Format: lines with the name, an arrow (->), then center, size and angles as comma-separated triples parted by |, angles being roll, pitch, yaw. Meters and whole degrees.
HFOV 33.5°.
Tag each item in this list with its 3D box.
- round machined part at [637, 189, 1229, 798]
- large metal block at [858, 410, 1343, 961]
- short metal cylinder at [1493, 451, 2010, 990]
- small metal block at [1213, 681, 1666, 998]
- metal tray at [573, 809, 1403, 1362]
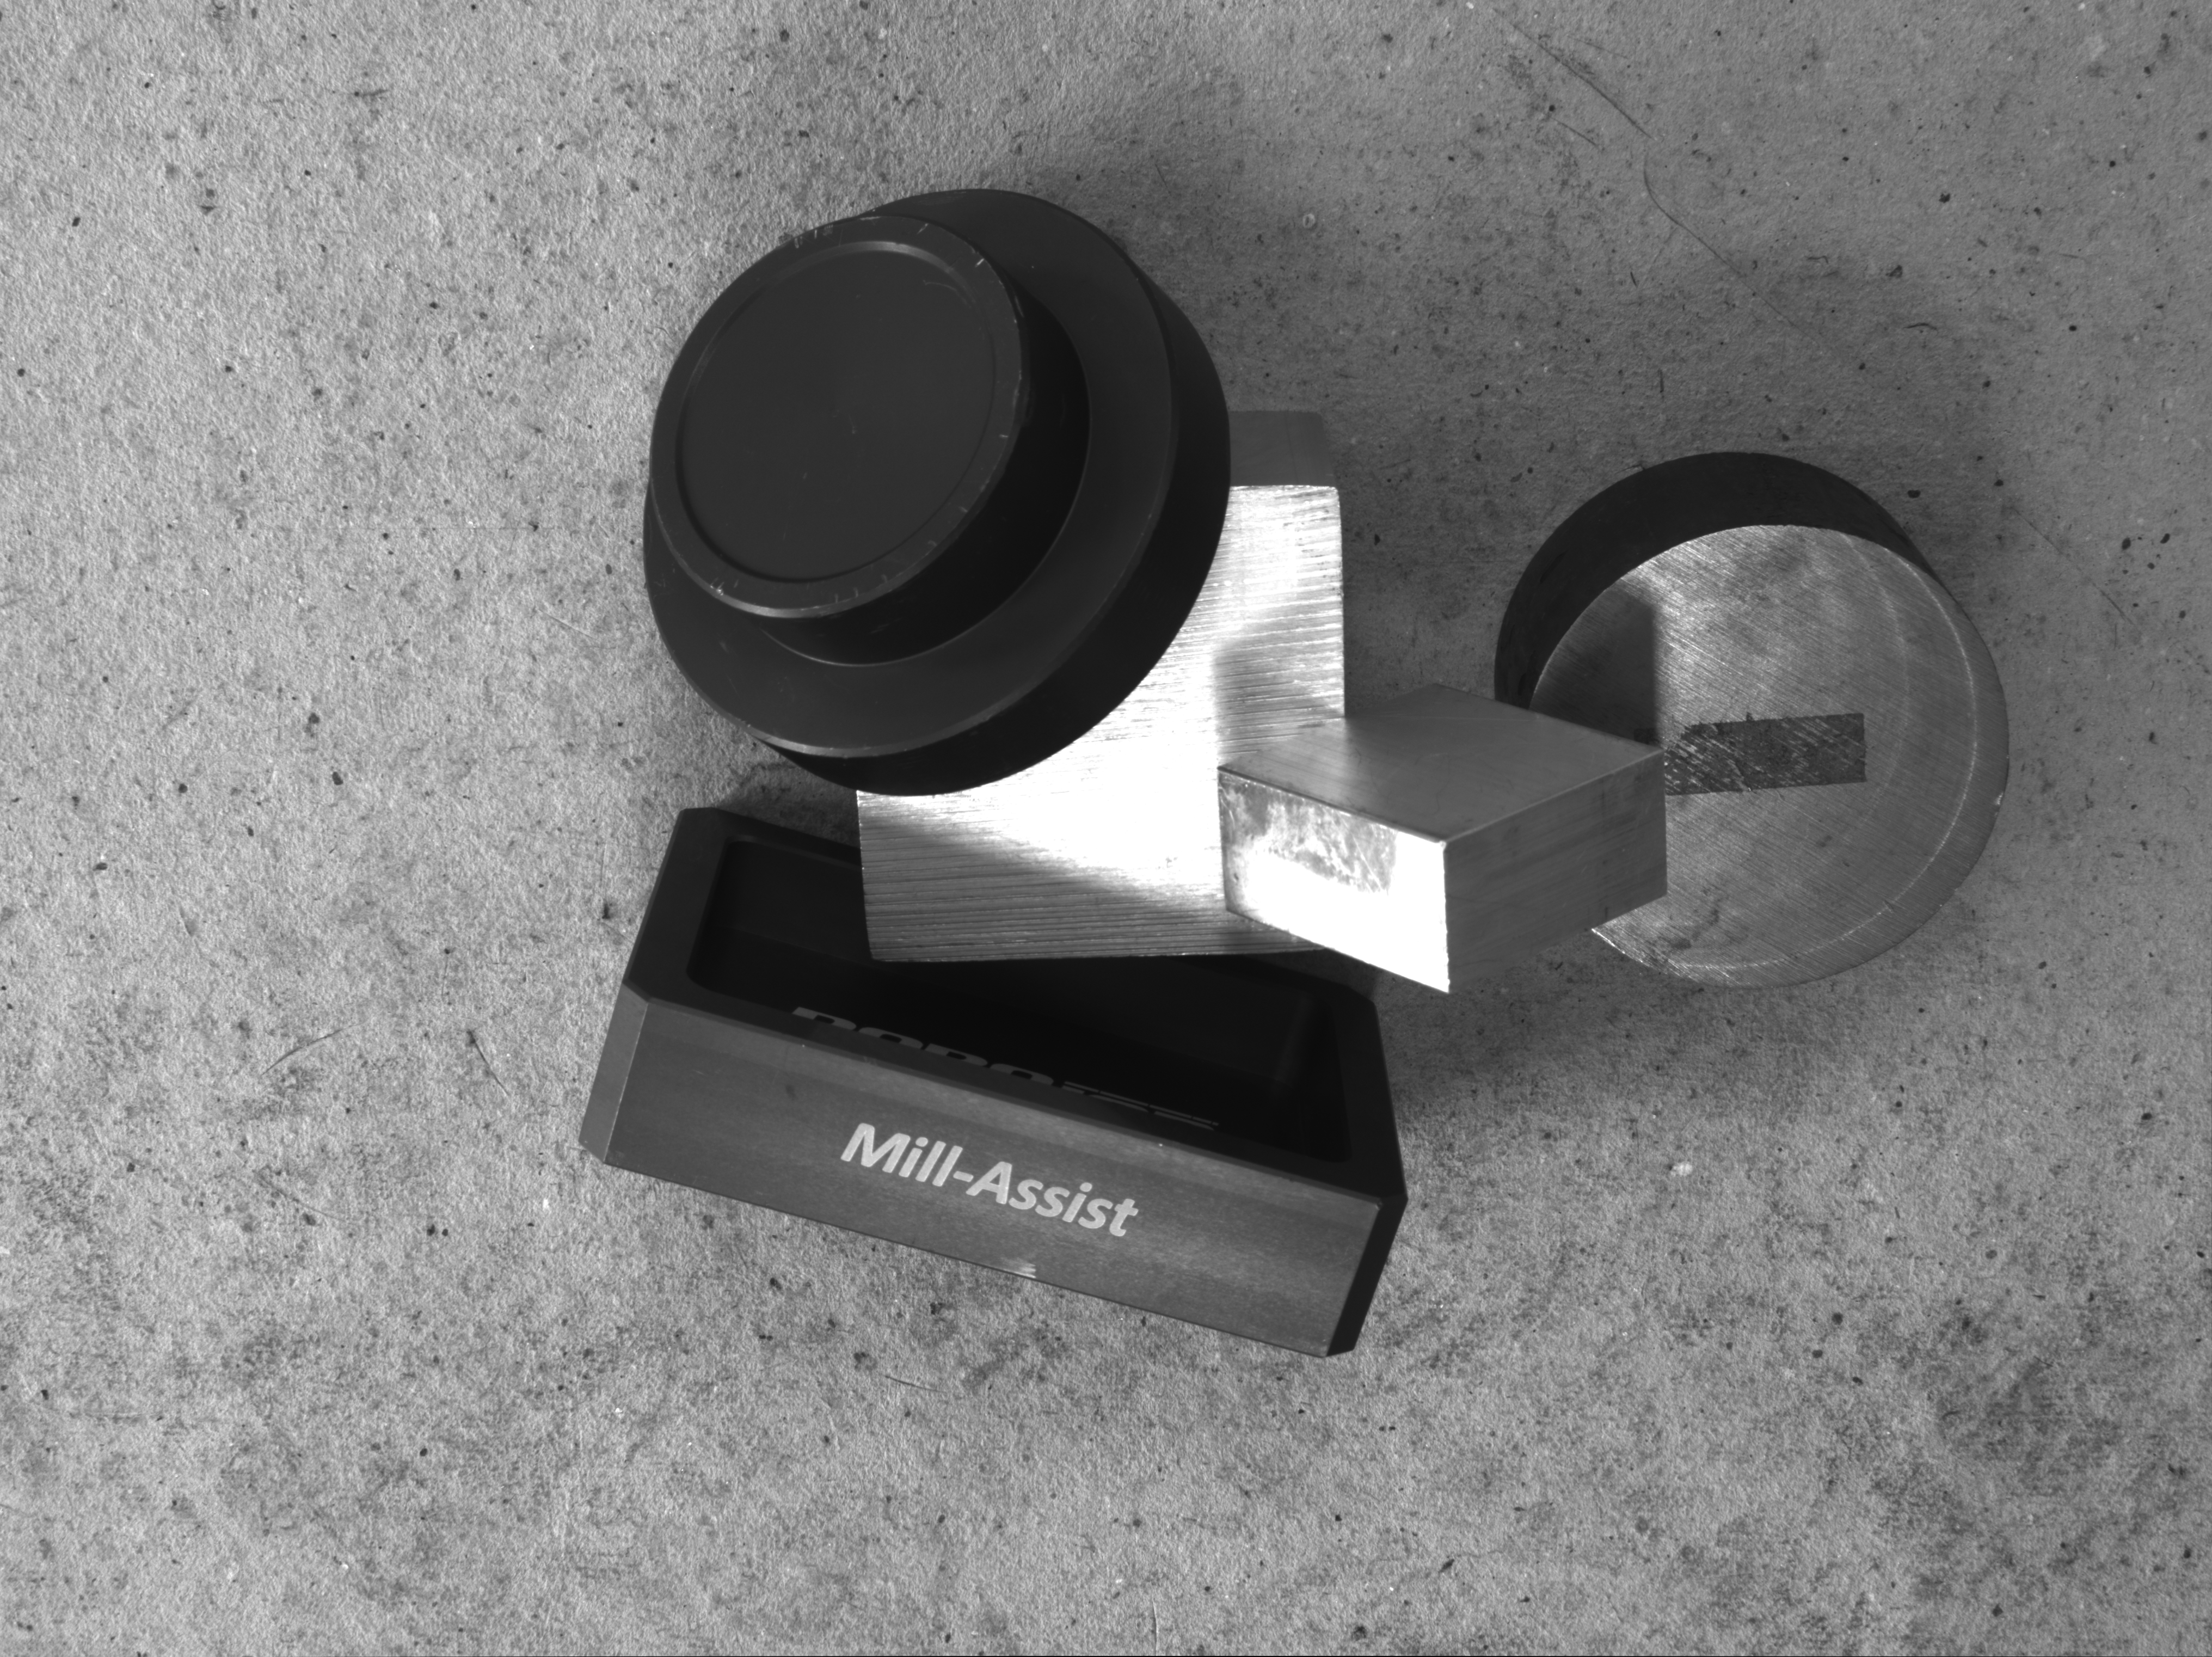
round machined part -> -0.033, -0.058, 0.584 | 0.098, 0.098, 0.042 | -35, 150, 12
large metal block -> -0.001, -0.025, 0.623 | 0.080, 0.050, 0.080 | -1, 110, 1
short metal cylinder -> 0.108, -0.019, 0.625 | 0.080, 0.050, 0.080 | 0, 110, 0
small metal block -> 0.053, 0.001, 0.583 | 0.050, 0.050, 0.025 | -22, 118, -36
metal tray -> -0.018, 0.041, 0.624 | 0.130, 0.090, 0.030 | 16, 109, -6
